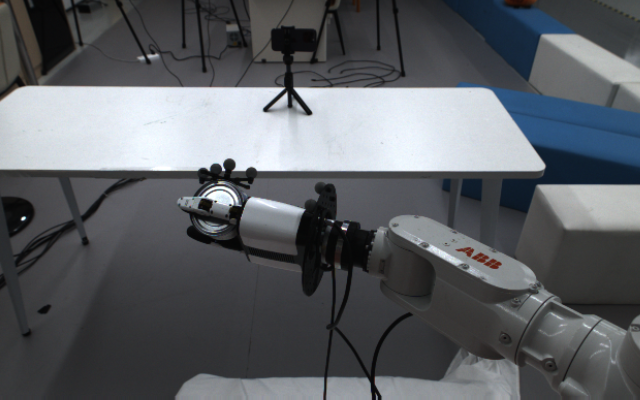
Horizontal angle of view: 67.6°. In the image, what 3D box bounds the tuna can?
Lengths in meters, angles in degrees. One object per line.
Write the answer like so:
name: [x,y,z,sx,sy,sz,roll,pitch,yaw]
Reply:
tuna can: [-0.146,0.016,0.712,0.085,0.034,0.085,-5,71,14]
